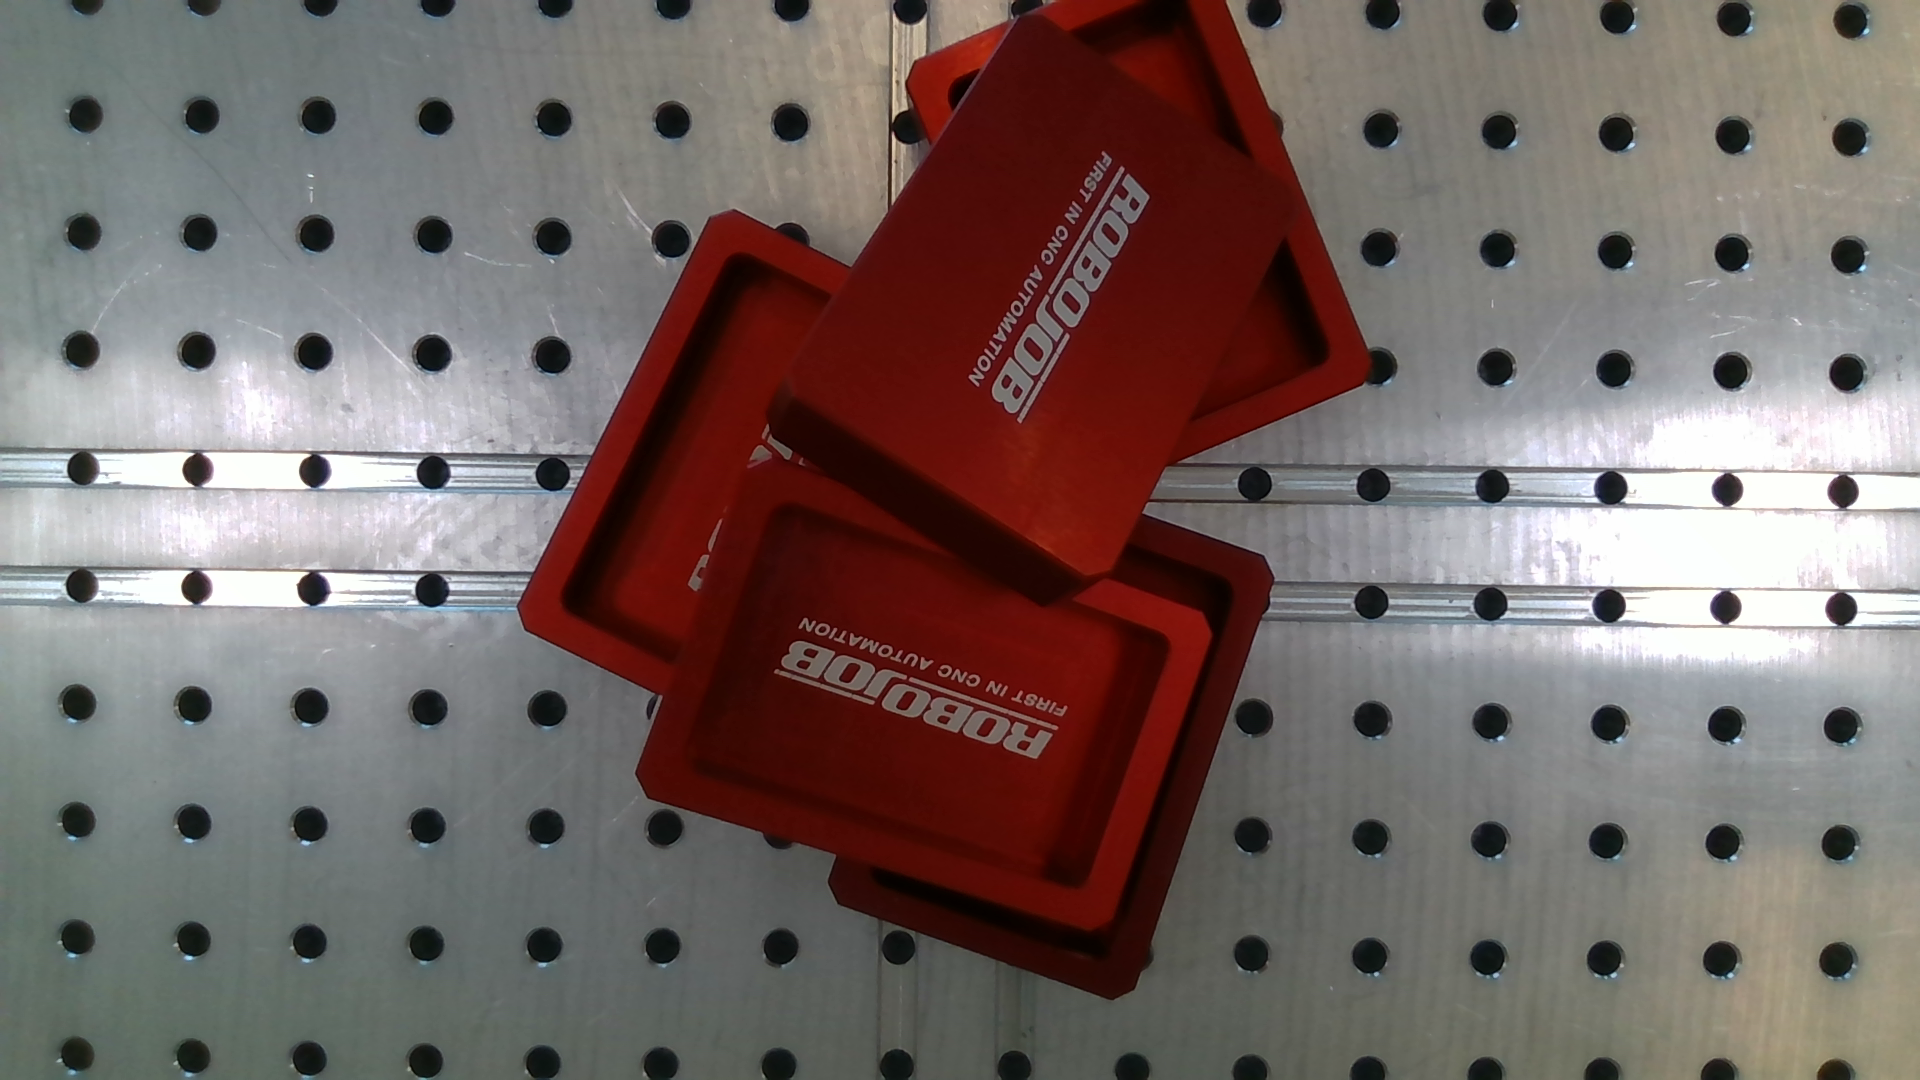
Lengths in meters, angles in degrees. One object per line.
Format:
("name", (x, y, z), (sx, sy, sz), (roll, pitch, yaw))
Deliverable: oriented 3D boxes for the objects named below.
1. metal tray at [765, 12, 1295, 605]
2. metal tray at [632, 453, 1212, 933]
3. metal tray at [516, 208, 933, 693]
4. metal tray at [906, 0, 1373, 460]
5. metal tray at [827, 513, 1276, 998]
("metal tray", (0.021, -0.061, 0.354), (0.090, 0.030, 0.130), (32, 68, -7))
("metal tray", (-0.009, 0.040, 0.364), (0.130, 0.030, 0.090), (20, 90, -12))
("metal tray", (-0.056, -0.016, 0.395), (0.090, 0.030, 0.130), (26, 90, 0))
("metal tray", (0.050, -0.088, 0.394), (0.090, 0.030, 0.130), (-23, 90, 0))
("metal tray", (0.025, 0.052, 0.394), (0.090, 0.030, 0.130), (19, 89, 0))
